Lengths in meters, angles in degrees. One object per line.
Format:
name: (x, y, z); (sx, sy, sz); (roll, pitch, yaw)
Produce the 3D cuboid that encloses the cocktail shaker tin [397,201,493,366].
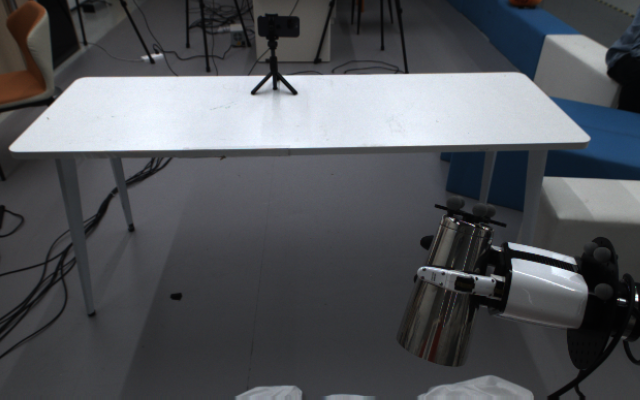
cocktail shaker tin: (0.166, 0.108, 0.614); (0.093, 0.170, 0.093); (14, 6, -2)
